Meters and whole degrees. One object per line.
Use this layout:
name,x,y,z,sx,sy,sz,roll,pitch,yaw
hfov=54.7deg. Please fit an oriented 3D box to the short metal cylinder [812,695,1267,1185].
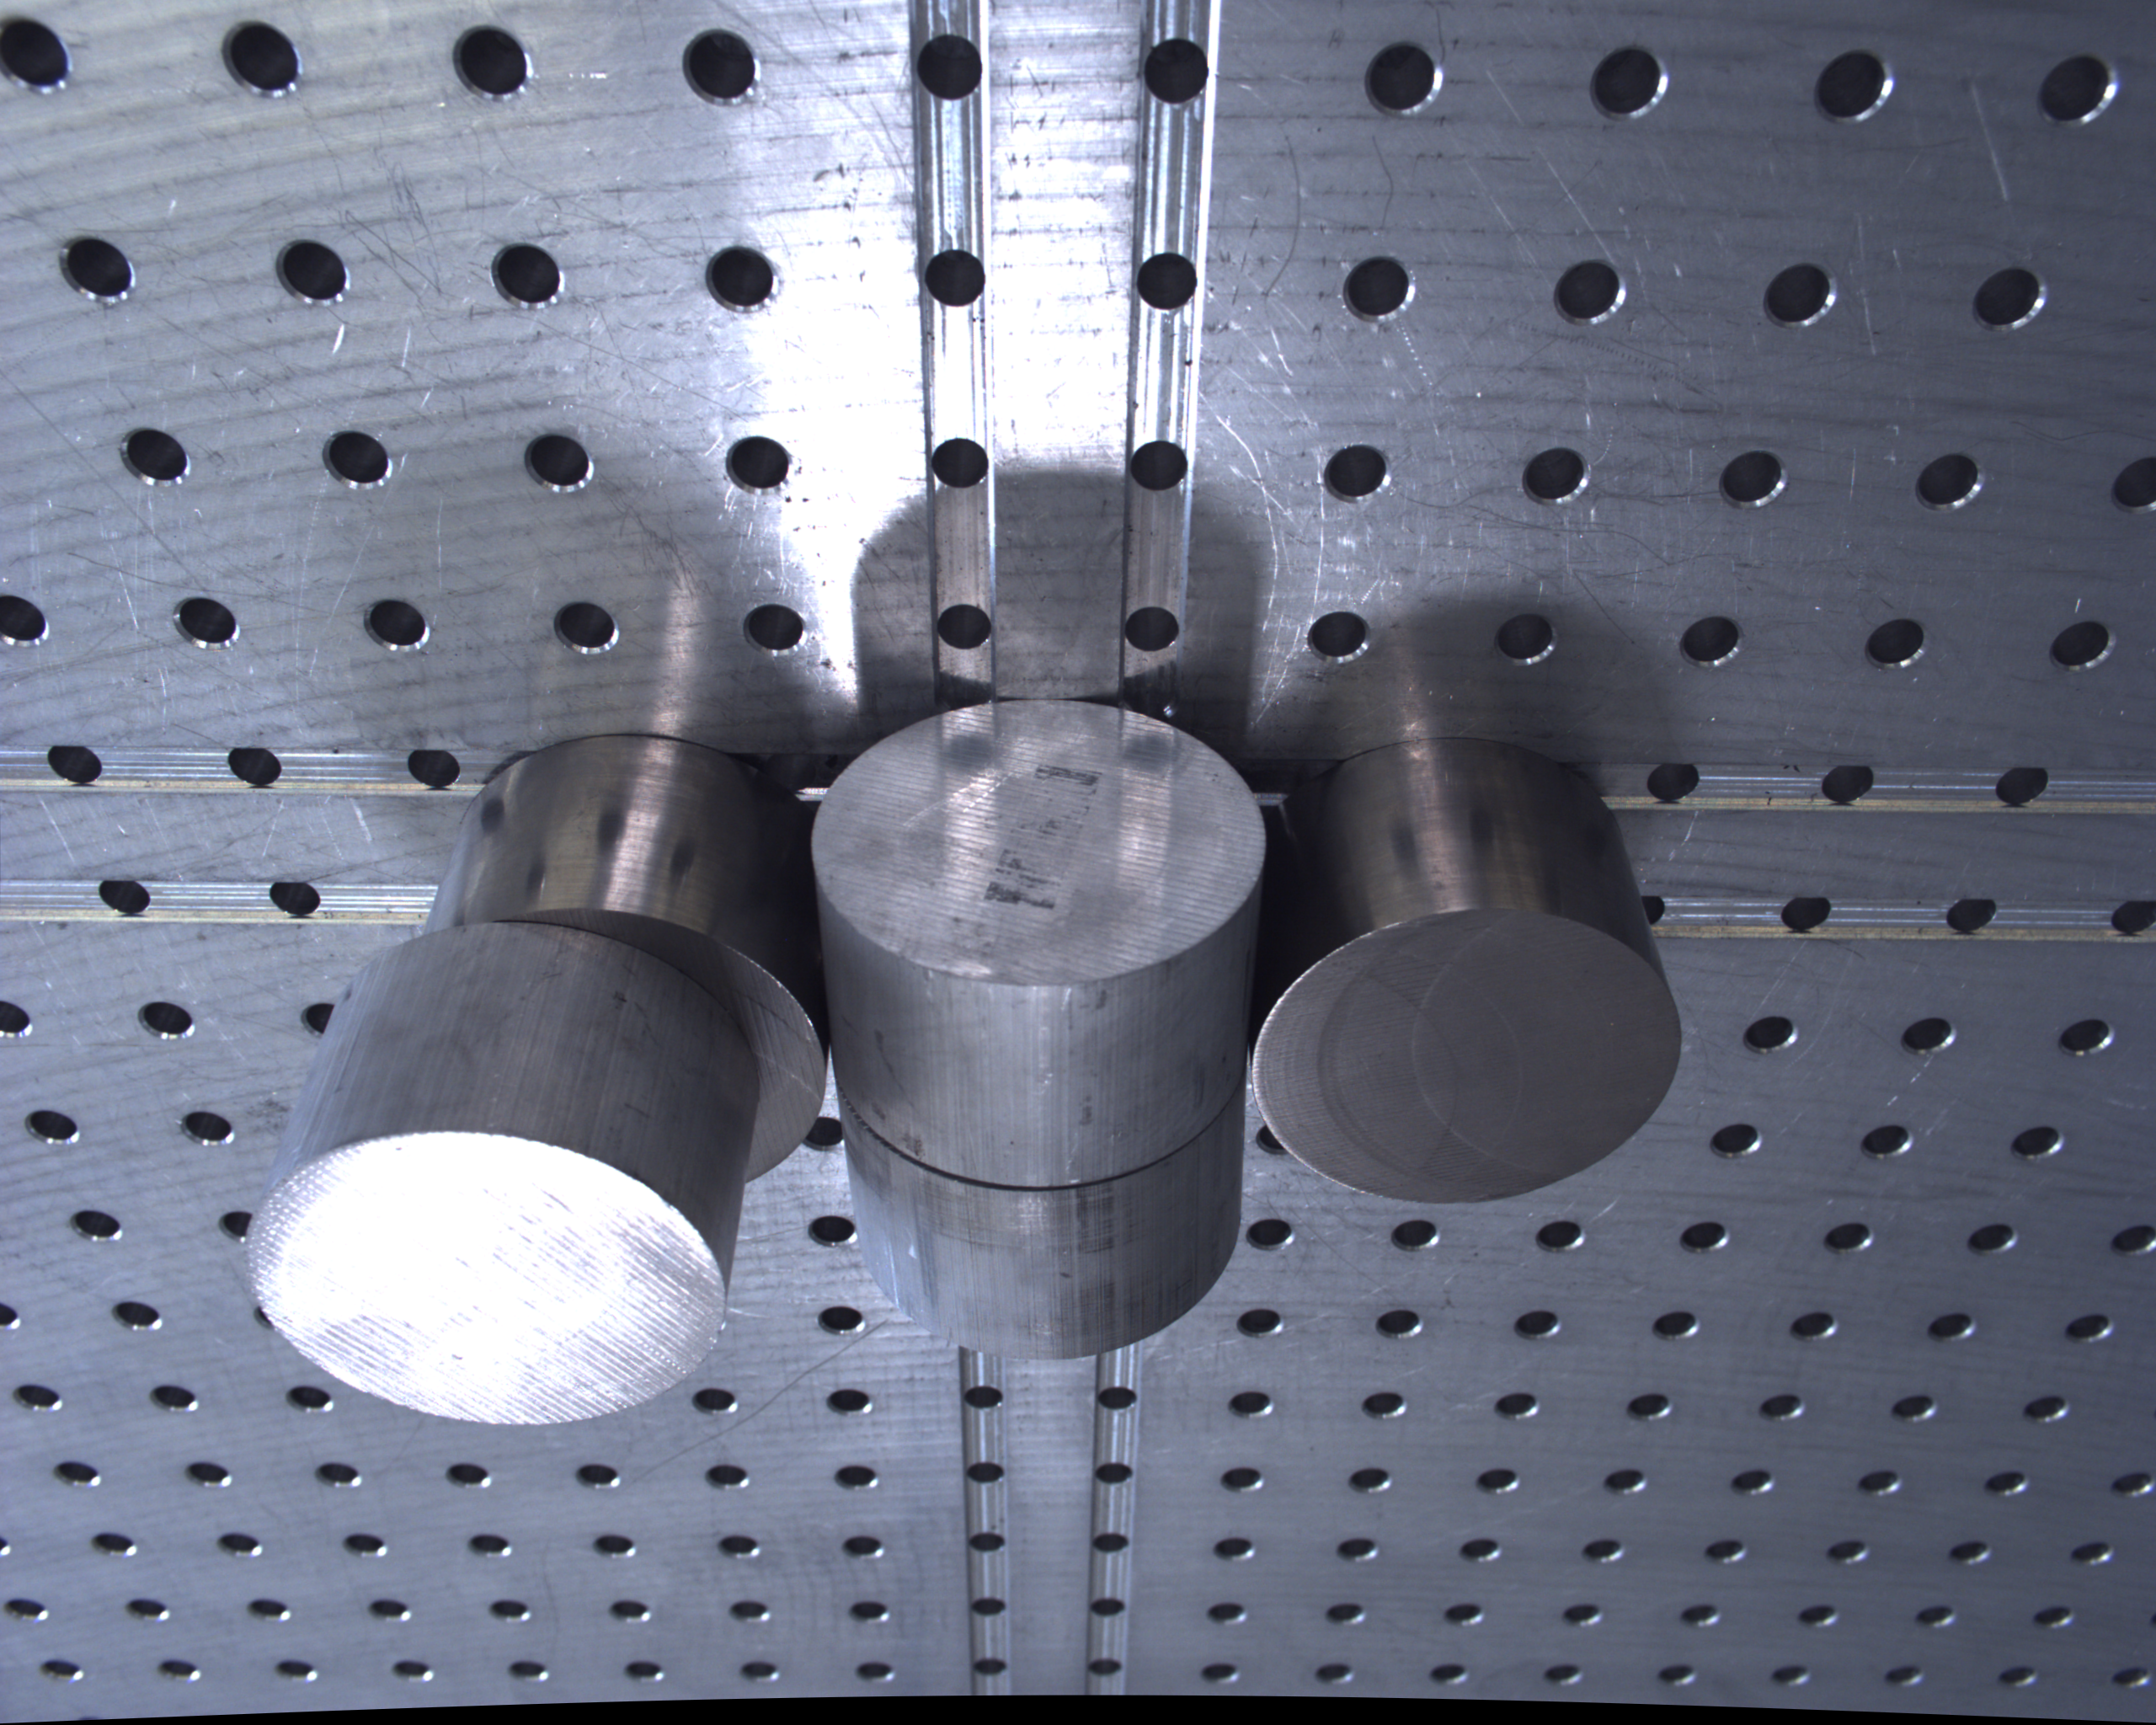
short metal cylinder,-0.007,0.013,0.387,0.081,0.080,0.050,1,131,-1

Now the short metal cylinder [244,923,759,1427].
short metal cylinder,-0.101,0.057,0.375,0.081,0.050,0.079,0,130,0

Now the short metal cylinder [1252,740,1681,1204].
short metal cylinder,0.073,0.022,0.414,0.081,0.050,0.079,0,130,0

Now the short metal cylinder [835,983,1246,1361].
short metal cylinder,-0.006,0.052,0.419,0.080,0.080,0.050,-1,130,0

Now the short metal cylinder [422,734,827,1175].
short metal cylinder,-0.088,0.021,0.412,0.081,0.050,0.079,0,130,0
